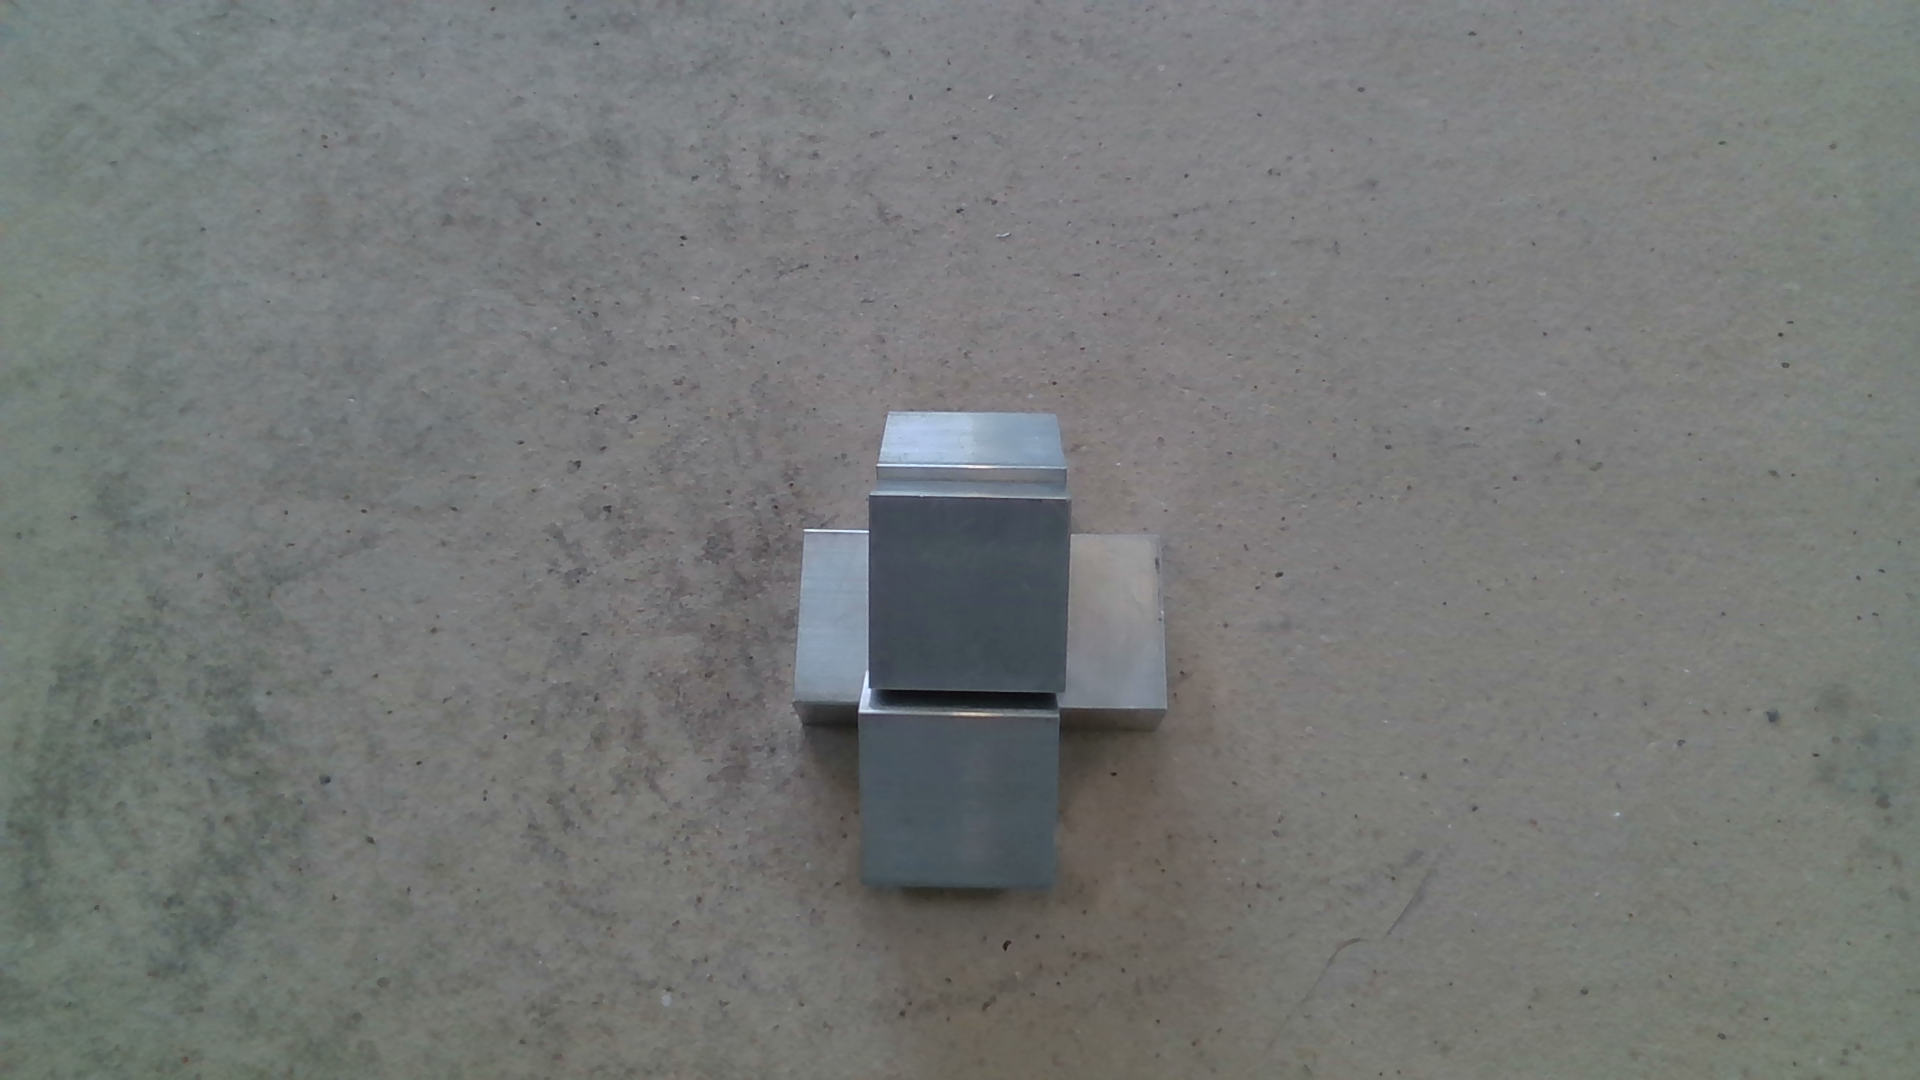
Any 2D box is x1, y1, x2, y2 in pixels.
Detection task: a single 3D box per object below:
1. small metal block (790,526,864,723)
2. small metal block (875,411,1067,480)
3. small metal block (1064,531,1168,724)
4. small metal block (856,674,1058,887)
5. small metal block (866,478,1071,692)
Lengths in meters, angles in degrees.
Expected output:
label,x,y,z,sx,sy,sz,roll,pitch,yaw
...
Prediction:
label,x,y,z,sx,sy,sz,roll,pitch,yaw
small metal block,-0.020,0.024,0.387,0.050,0.025,0.050,1,70,0
small metal block,0.003,-0.017,0.387,0.050,0.050,0.025,1,112,0
small metal block,0.031,0.025,0.386,0.050,0.025,0.050,1,70,0
small metal block,-0.001,0.062,0.360,0.050,0.025,0.050,1,110,1
small metal block,0.002,0.011,0.353,0.050,0.025,0.050,1,101,1
